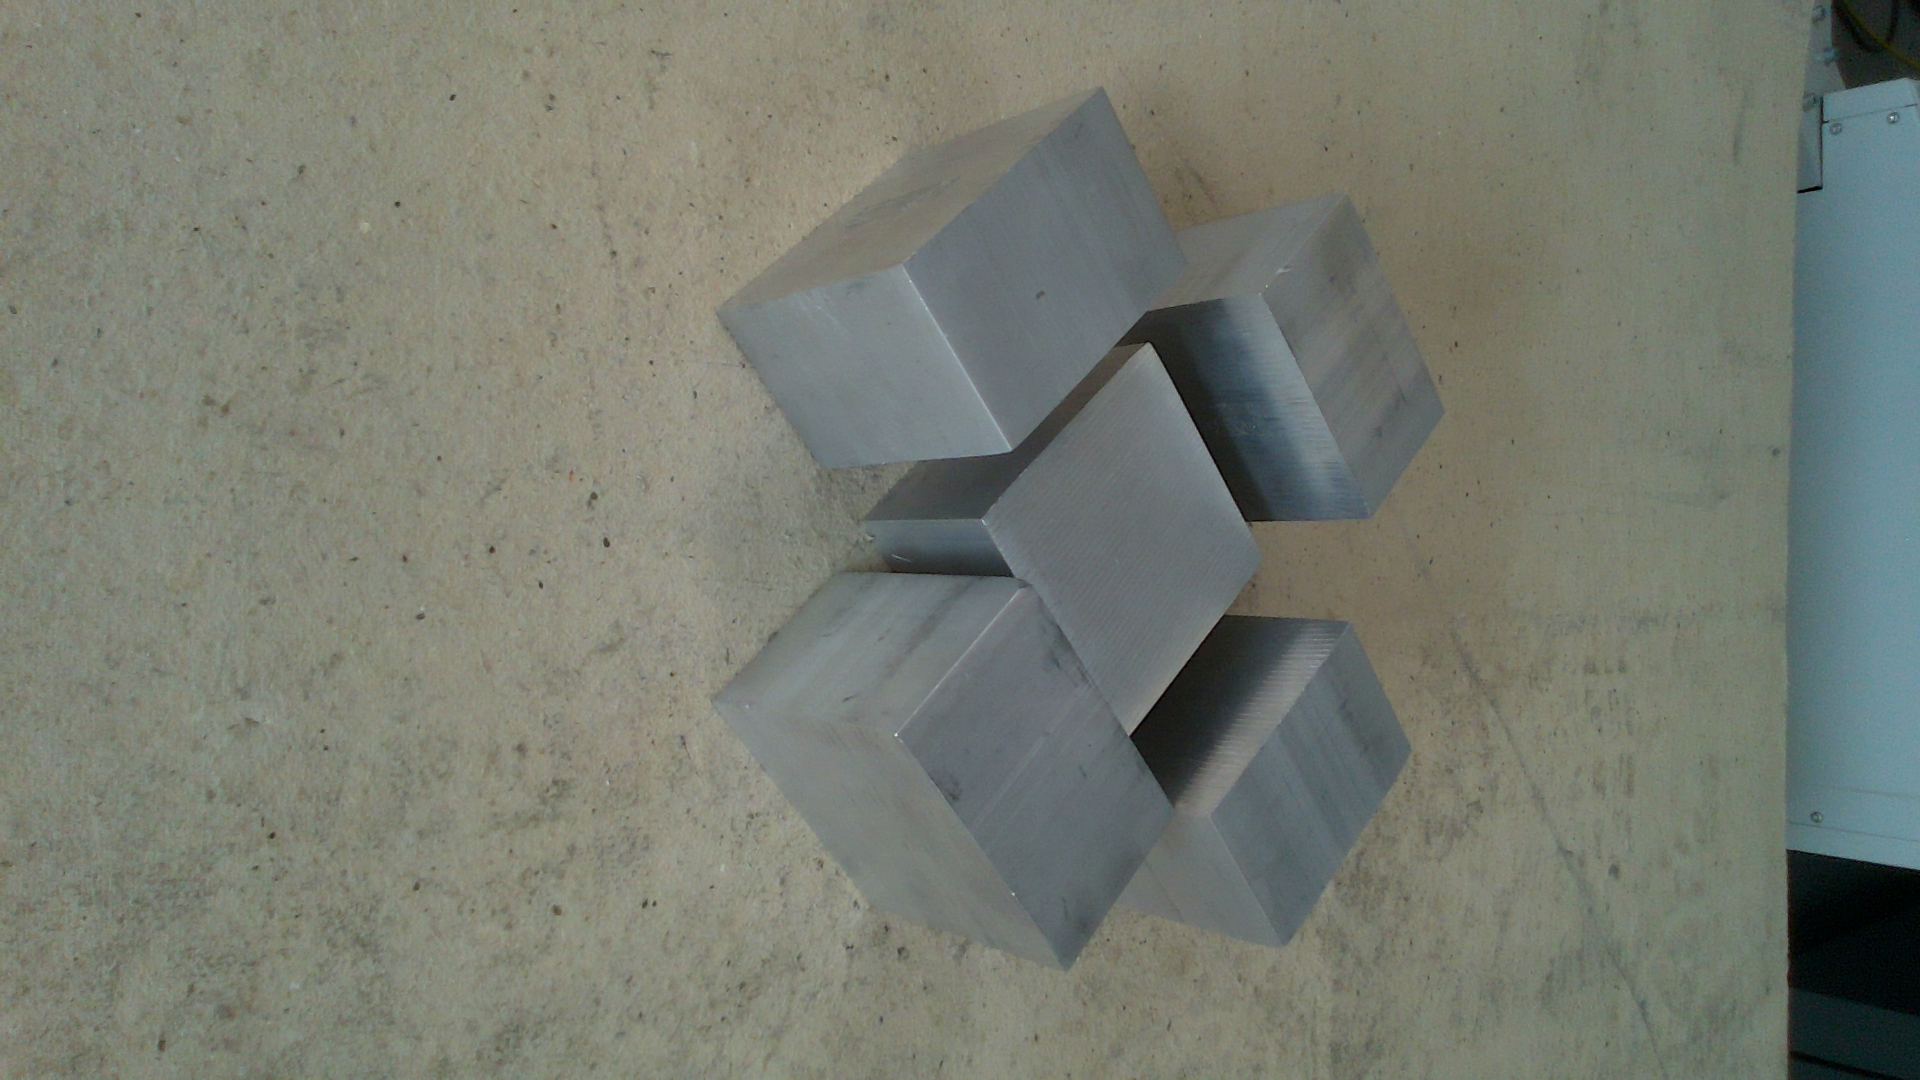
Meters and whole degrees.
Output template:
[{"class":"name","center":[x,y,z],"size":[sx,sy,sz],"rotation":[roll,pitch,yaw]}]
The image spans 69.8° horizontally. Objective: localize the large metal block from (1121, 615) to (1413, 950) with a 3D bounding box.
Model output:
[{"class":"large metal block","center":[0.075,0.068,0.415],"size":[0.080,0.080,0.050],"rotation":[-45,116,-31]}]

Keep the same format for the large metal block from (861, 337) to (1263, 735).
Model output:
[{"class":"large metal block","center":[0.032,0.000,0.396],"size":[0.080,0.050,0.080],"rotation":[-47,118,-30]}]

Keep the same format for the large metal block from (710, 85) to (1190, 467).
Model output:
[{"class":"large metal block","center":[-0.003,-0.065,0.352],"size":[0.080,0.080,0.050],"rotation":[-47,118,-30]}]

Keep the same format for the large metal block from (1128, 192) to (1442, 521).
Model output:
[{"class":"large metal block","center":[0.089,-0.052,0.428],"size":[0.050,0.080,0.080],"rotation":[-49,119,-30]}]

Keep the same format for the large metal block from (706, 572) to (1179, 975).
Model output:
[{"class":"large metal block","center":[-0.005,0.055,0.349],"size":[0.050,0.080,0.080],"rotation":[-47,118,-29]}]
